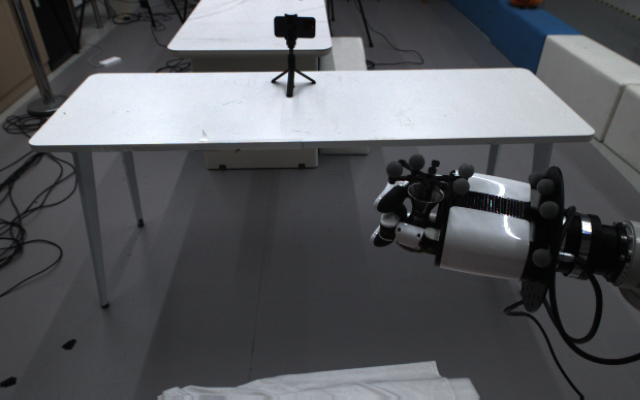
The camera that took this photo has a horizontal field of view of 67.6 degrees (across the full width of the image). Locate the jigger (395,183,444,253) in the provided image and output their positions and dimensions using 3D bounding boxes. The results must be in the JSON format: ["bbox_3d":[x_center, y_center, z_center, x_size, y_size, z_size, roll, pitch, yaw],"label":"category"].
[{"bbox_3d":[0.117,0.019,0.554,0.043,0.071,0.043,4,31,-2],"label":"jigger"}]
